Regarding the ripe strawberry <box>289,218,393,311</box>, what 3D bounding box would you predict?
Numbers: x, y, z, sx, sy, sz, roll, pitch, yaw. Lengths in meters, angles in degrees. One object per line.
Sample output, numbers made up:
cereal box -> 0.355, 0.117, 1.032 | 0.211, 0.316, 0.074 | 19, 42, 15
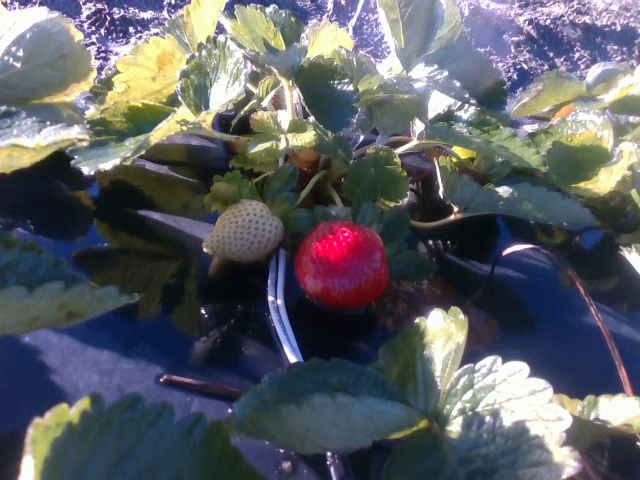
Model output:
ripe strawberry -> 0.015, 0.009, 0.299 | 0.040, 0.063, 0.080 | -41, -6, 25
